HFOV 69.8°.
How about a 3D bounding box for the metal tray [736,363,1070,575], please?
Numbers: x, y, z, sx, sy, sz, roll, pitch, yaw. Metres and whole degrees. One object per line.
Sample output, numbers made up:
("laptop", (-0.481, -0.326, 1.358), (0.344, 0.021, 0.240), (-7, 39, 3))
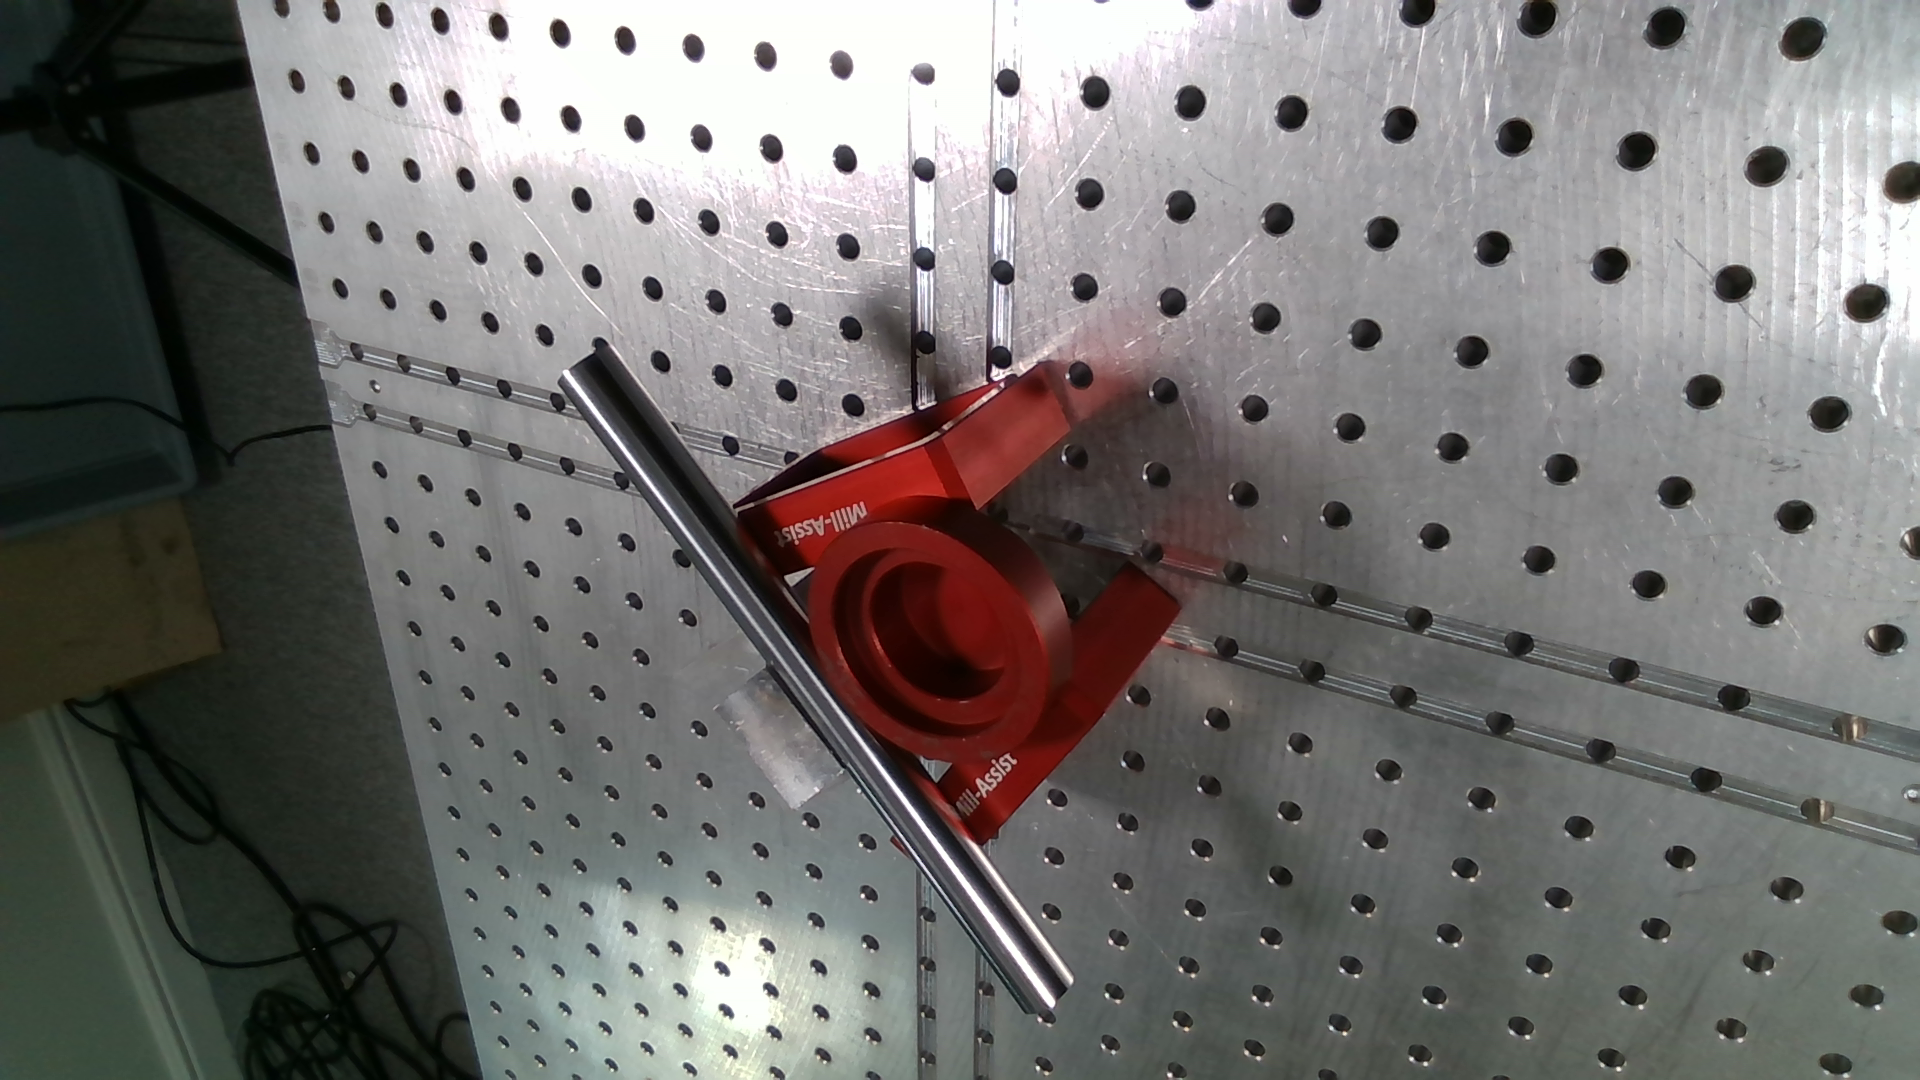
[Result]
("metal tray", (-0.031, -0.025, 0.546), (0.130, 0.090, 0.030), (-17, 105, 37))

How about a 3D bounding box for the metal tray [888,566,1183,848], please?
("metal tray", (0.030, 0.077, 0.564), (0.030, 0.090, 0.130), (41, 129, 7))

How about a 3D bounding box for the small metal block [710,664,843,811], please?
("small metal block", (-0.072, 0.076, 0.547), (0.025, 0.050, 0.050), (-37, 94, -5))

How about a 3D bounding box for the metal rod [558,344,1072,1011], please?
("metal rod", (-0.053, 0.055, 0.529), (0.025, 0.025, 0.300), (-32, 96, 39))

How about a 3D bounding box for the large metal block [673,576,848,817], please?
("large metal block", (-0.066, 0.063, 0.618), (0.050, 0.080, 0.080), (-32, 96, 39))

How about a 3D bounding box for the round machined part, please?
("round machined part", (-0.003, 0.029, 0.501), (0.098, 0.042, 0.098), (14, 122, 25))
